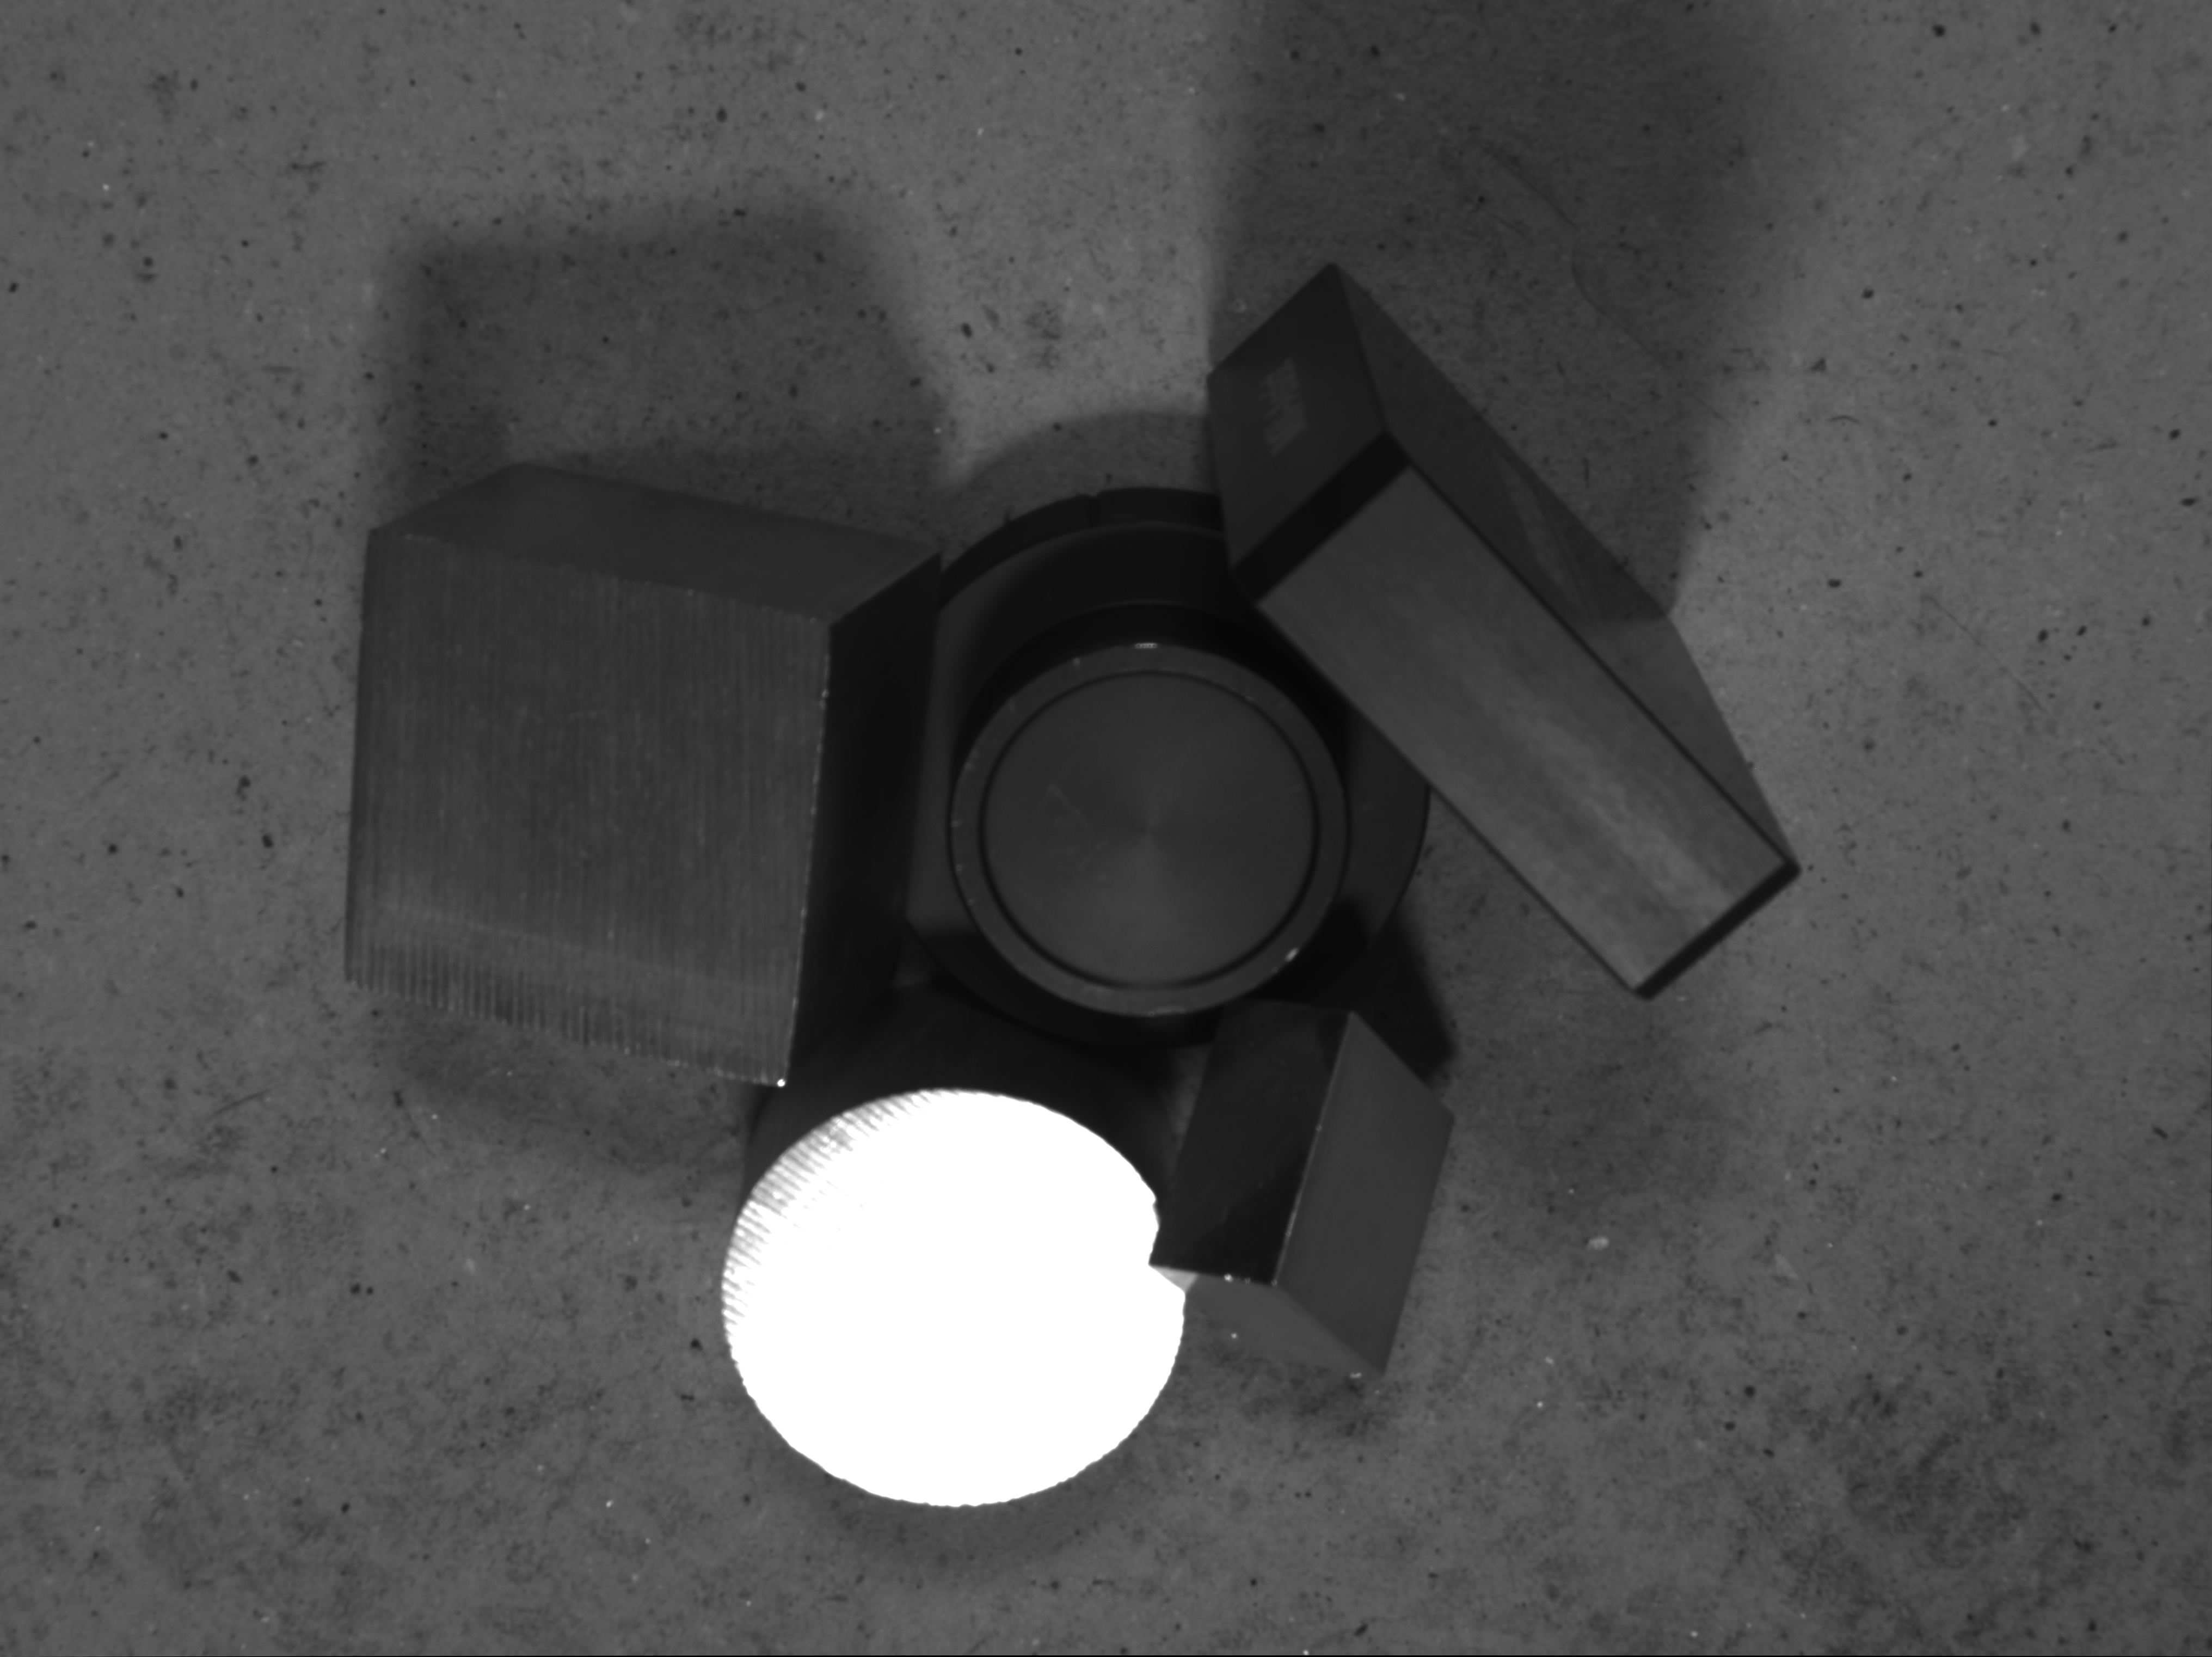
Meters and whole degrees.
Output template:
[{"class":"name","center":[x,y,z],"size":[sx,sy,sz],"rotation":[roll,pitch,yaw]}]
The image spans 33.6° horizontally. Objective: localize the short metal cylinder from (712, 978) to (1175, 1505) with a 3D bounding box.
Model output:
[{"class":"short metal cylinder","center":[-0.028,0.073,0.657],"size":[0.080,0.050,0.080],"rotation":[0,110,-1]}]

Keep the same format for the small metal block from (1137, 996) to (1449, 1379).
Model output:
[{"class":"small metal block","center":[0.034,0.063,0.642],"size":[0.025,0.050,0.050],"rotation":[6,158,30]}]

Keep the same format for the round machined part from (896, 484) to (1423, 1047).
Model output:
[{"class":"round machined part","center":[0.006,-0.007,0.633],"size":[0.098,0.042,0.098],"rotation":[0,110,-1]}]

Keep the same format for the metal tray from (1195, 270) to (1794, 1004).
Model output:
[{"class":"metal tray","center":[0.057,-0.034,0.574],"size":[0.030,0.130,0.090],"rotation":[-42,105,13]}]

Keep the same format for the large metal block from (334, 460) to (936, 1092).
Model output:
[{"class":"large metal block","center":[-0.079,-0.010,0.612],"size":[0.080,0.050,0.080],"rotation":[13,110,13]}]
